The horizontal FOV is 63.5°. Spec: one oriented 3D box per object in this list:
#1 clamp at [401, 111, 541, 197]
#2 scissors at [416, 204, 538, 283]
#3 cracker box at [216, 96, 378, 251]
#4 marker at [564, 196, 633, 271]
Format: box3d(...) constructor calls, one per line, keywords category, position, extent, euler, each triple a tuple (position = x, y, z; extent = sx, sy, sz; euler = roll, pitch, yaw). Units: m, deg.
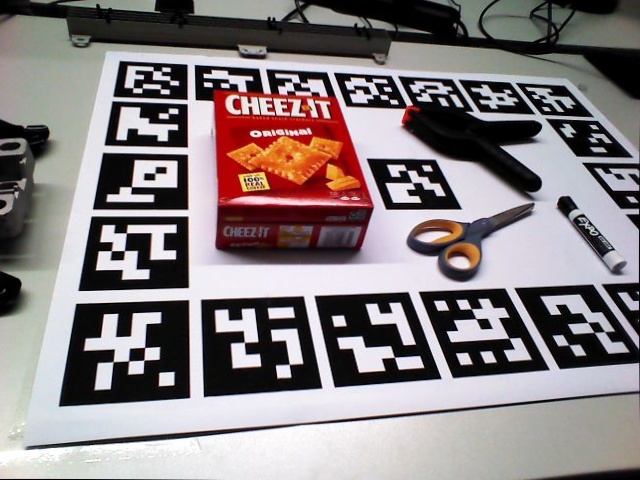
box3d(category="clamp", position=(0.217, -0.144, 0.754), extent=(0.203, 0.037, 0.164), euler=(21, 44, 8))
box3d(category="scissors", position=(0.200, -0.012, 0.613), extent=(0.201, 0.016, 0.088), euler=(-24, 53, -33))
box3d(category="cracker box", position=(-0.037, -0.084, 0.600), extent=(0.164, 0.072, 0.212), euler=(0, 46, -12))
box3d(category="marker", position=(0.340, -0.012, 0.639), extent=(0.019, 0.020, 0.120), euler=(-4, 46, -15))
